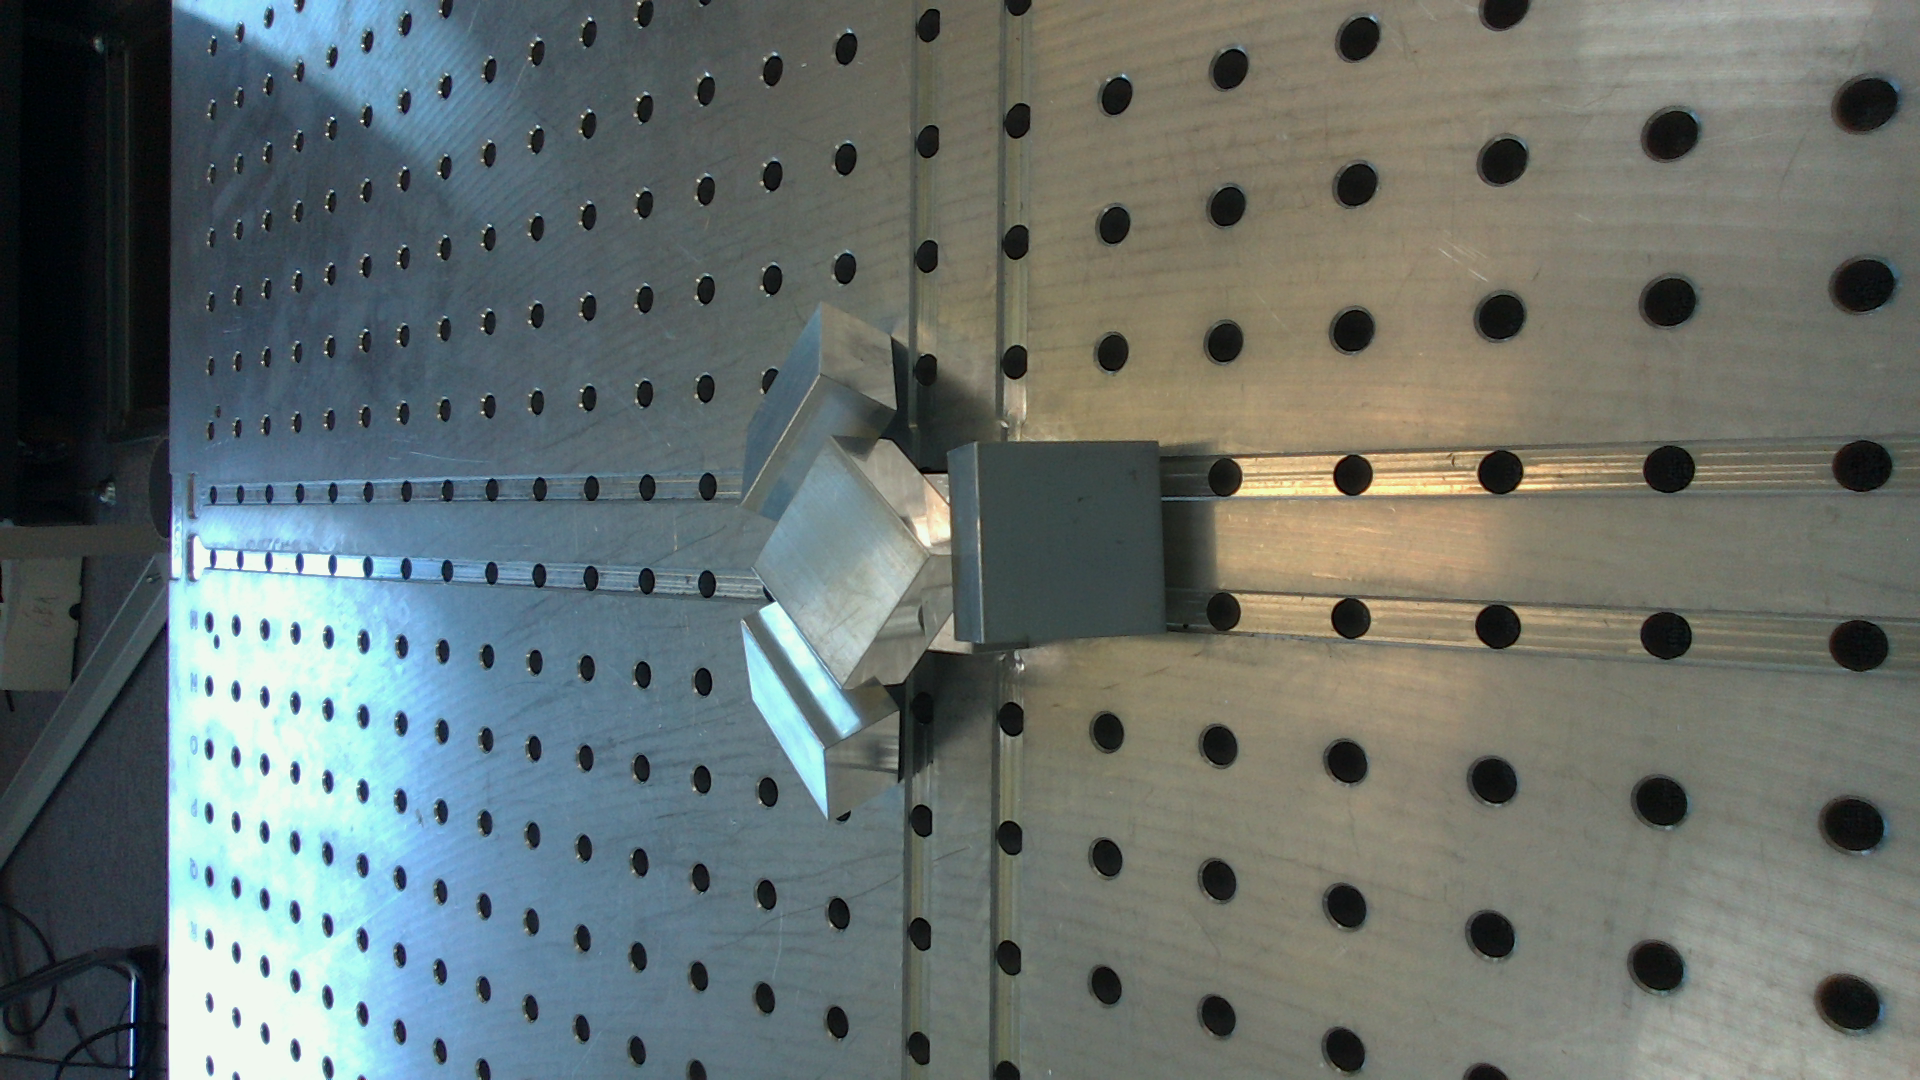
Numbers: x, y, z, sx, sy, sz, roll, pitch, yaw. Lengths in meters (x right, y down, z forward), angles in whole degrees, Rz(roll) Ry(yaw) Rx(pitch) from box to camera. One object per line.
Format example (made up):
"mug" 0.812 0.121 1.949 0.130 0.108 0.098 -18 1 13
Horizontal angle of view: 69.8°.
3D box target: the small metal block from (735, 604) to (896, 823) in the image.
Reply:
"small metal block" -0.043 0.050 0.417 0.050 0.025 0.050 53 158 27

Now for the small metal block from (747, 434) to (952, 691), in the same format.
"small metal block" -0.027 0.006 0.387 0.050 0.025 0.050 49 118 29

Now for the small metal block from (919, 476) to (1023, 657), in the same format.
"small metal block" -0.007 0.006 0.404 0.050 0.025 0.050 2 94 40

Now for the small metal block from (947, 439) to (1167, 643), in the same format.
"small metal block" 0.024 0.000 0.357 0.025 0.050 0.050 172 96 -73

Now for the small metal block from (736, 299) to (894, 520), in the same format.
"small metal block" -0.044 -0.037 0.419 0.050 0.025 0.050 -54 23 26
